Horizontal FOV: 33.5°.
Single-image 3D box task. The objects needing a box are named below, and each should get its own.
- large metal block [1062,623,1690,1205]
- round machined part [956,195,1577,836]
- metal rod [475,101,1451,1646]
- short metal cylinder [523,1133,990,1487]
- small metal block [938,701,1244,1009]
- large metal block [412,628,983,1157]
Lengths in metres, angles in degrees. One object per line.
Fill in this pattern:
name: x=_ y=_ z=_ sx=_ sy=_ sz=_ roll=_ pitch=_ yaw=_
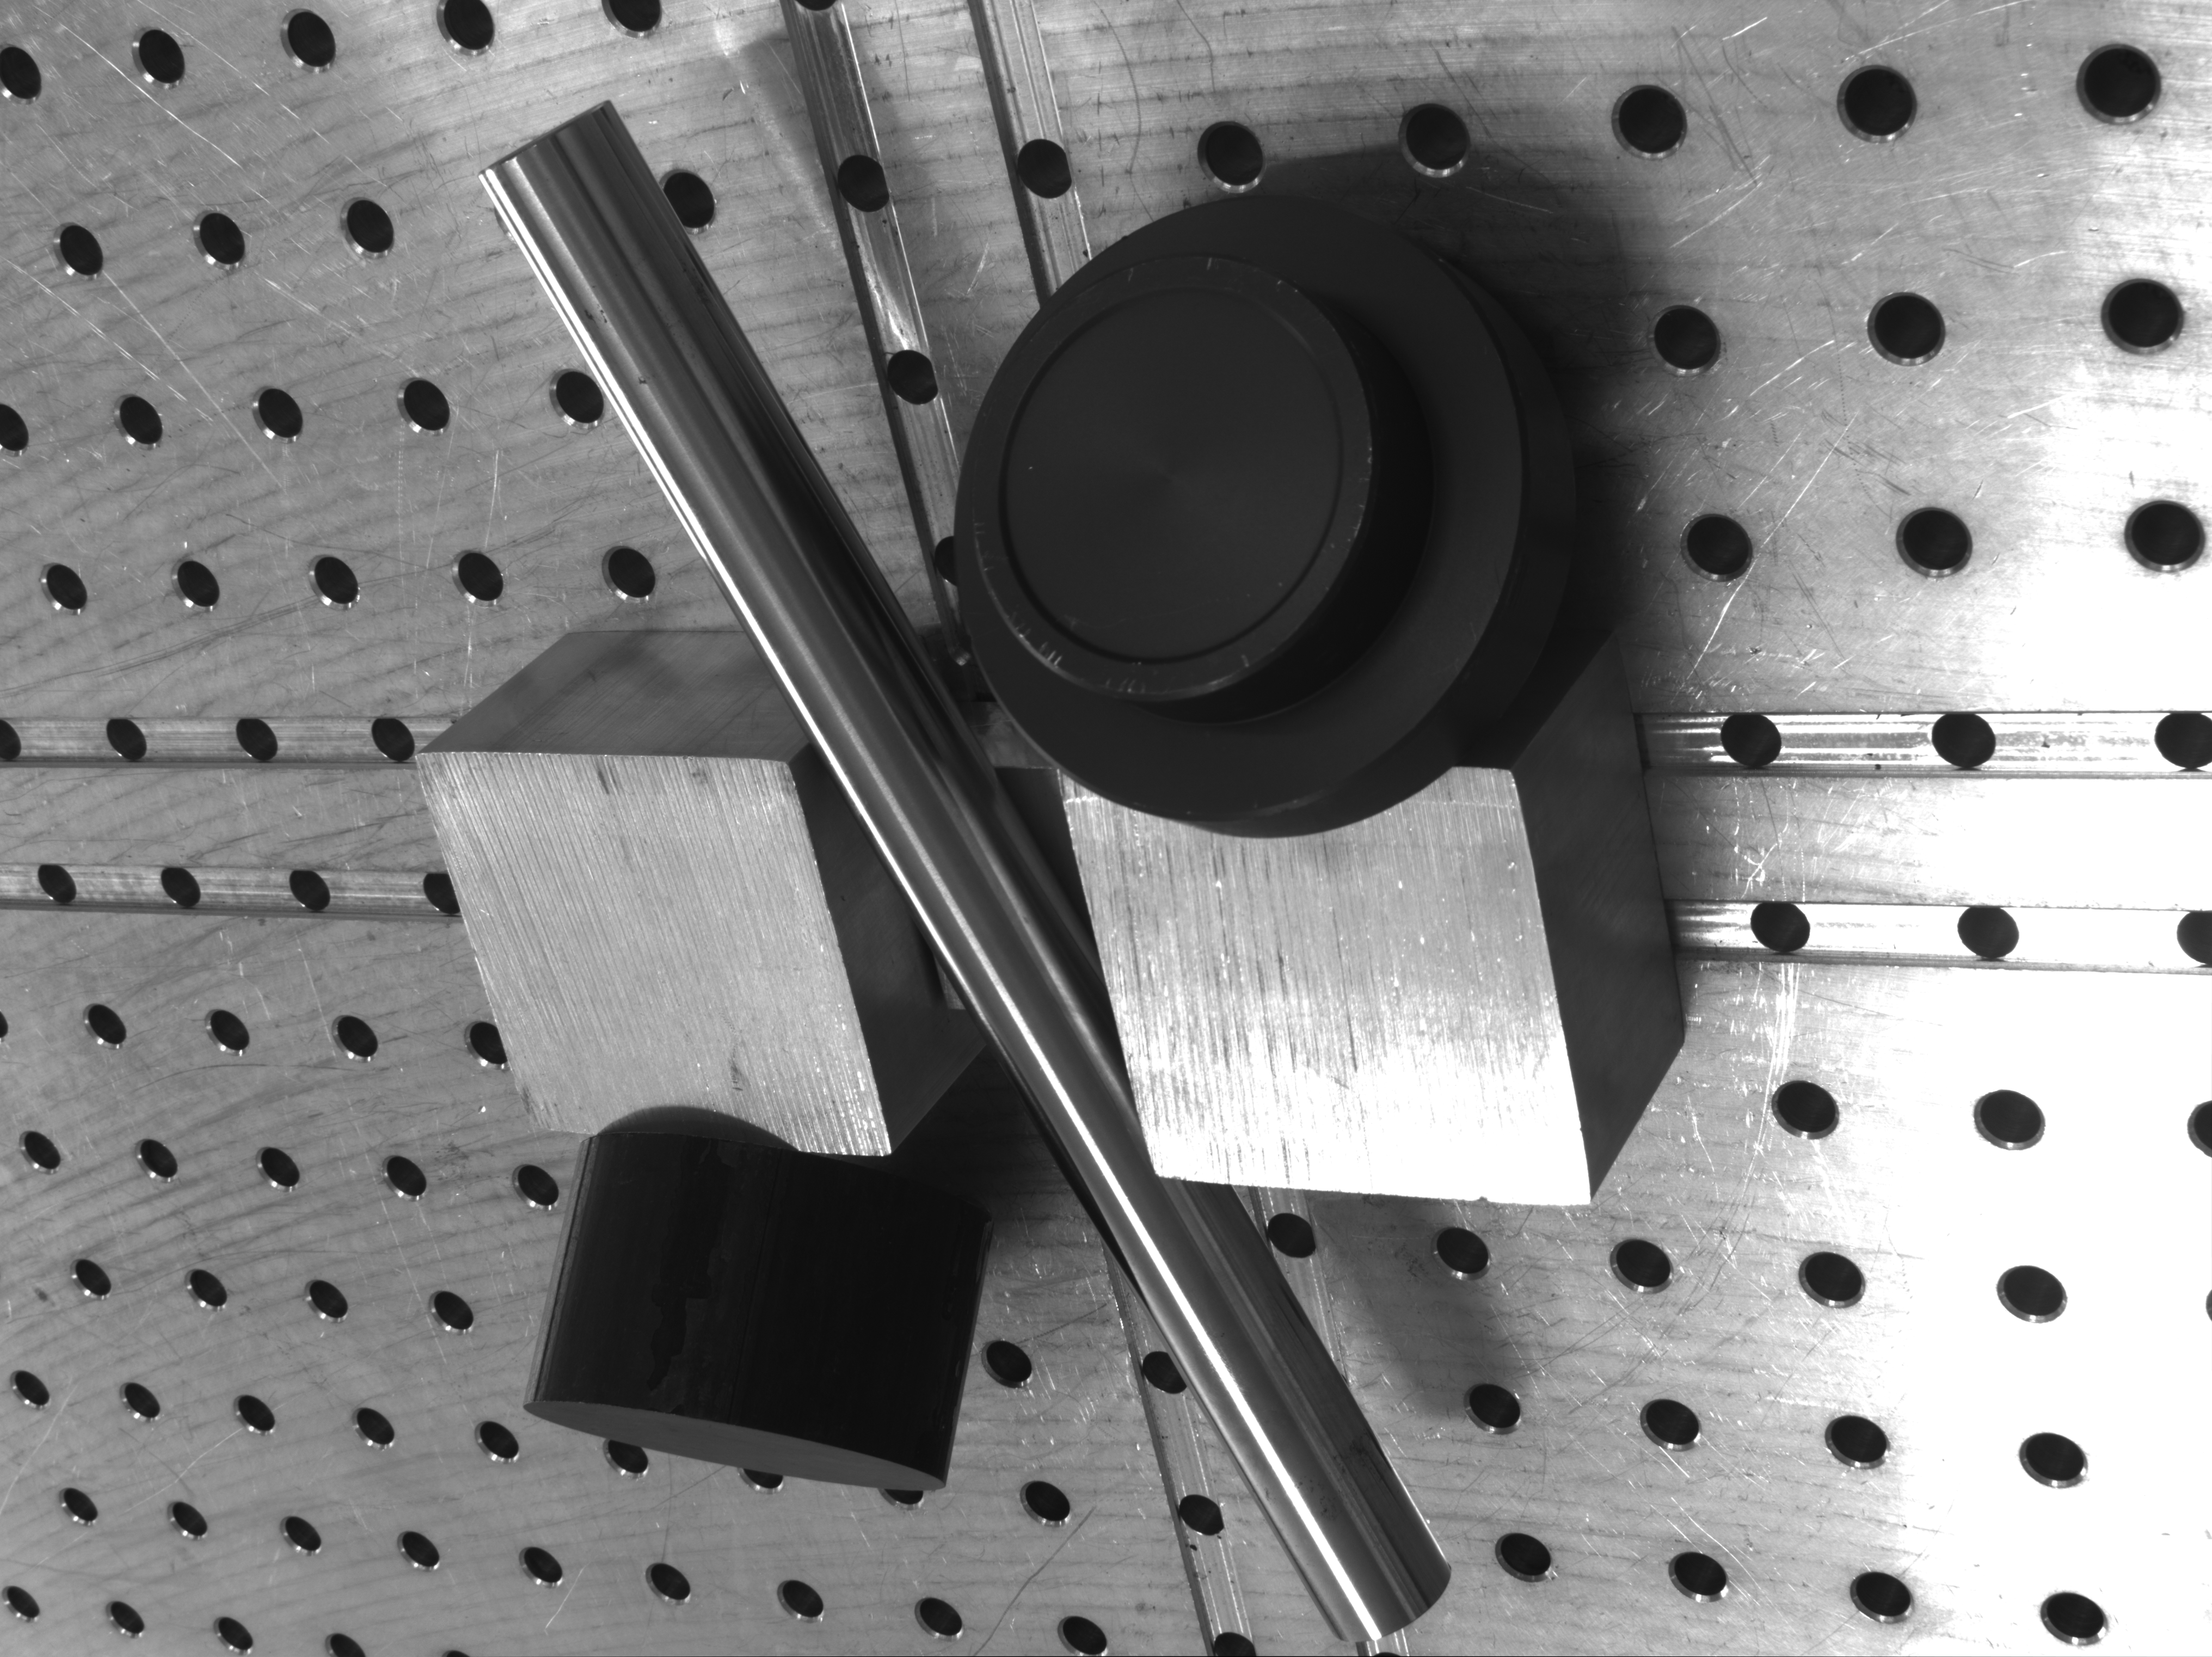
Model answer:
large metal block: x=0.046 y=0.013 z=0.614 sx=0.080 sy=0.050 sz=0.080 roll=1 pitch=119 yaw=28
round machined part: x=0.019 y=-0.049 z=0.563 sx=0.098 sy=0.042 sz=0.098 roll=-4 pitch=81 yaw=27
metal rod: x=-0.020 y=0.015 z=0.632 sx=0.025 sy=0.025 sz=0.300 roll=-19 pitch=109 yaw=35
short metal cylinder: x=-0.065 y=0.092 z=0.694 sx=0.080 sy=0.050 sz=0.080 roll=10 pitch=164 yaw=3
small metal block: x=-0.007 y=0.005 z=0.653 sx=0.050 sy=0.025 sz=0.050 roll=1 pitch=119 yaw=28
large metal block: x=-0.070 y=0.010 z=0.675 sx=0.080 sy=0.050 sz=0.080 roll=2 pitch=119 yaw=27
